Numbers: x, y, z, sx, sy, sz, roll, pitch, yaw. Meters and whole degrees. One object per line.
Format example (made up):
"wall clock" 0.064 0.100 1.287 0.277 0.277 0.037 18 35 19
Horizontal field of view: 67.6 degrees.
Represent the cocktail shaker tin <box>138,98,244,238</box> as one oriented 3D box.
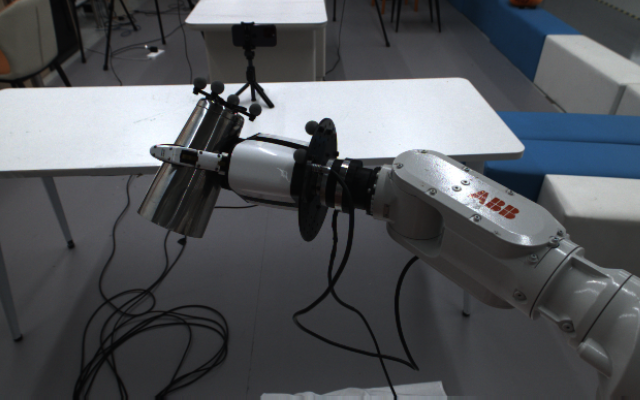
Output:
"cocktail shaker tin" -0.165 -0.048 0.649 0.093 0.170 0.093 23 0 0
